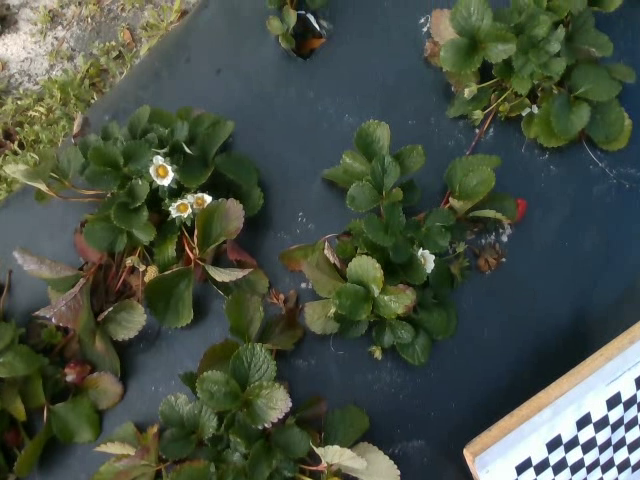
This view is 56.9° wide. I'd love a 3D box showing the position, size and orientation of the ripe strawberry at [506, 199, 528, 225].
[{"bbox_3d":[0.144,-0.025,0.444,0.021,0.027,0.021,29,20,-45],"label":"ripe strawberry"}]
